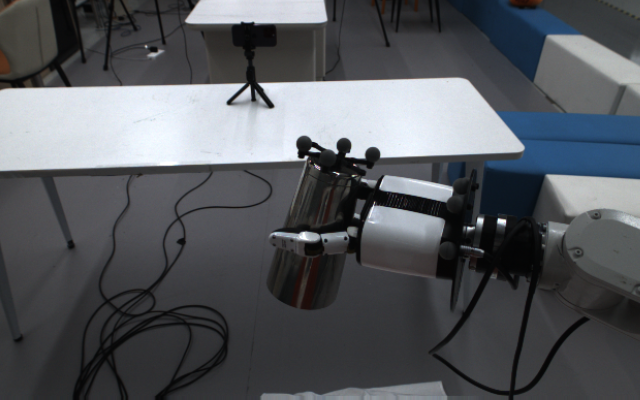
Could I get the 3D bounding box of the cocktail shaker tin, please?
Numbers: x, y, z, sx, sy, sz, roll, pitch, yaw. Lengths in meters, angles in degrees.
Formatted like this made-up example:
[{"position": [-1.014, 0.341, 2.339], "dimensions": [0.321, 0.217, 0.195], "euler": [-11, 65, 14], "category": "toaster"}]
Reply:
[{"position": [0.000, 0.034, 0.581], "dimensions": [0.093, 0.170, 0.093], "euler": [12, 24, -5], "category": "cocktail shaker tin"}]
